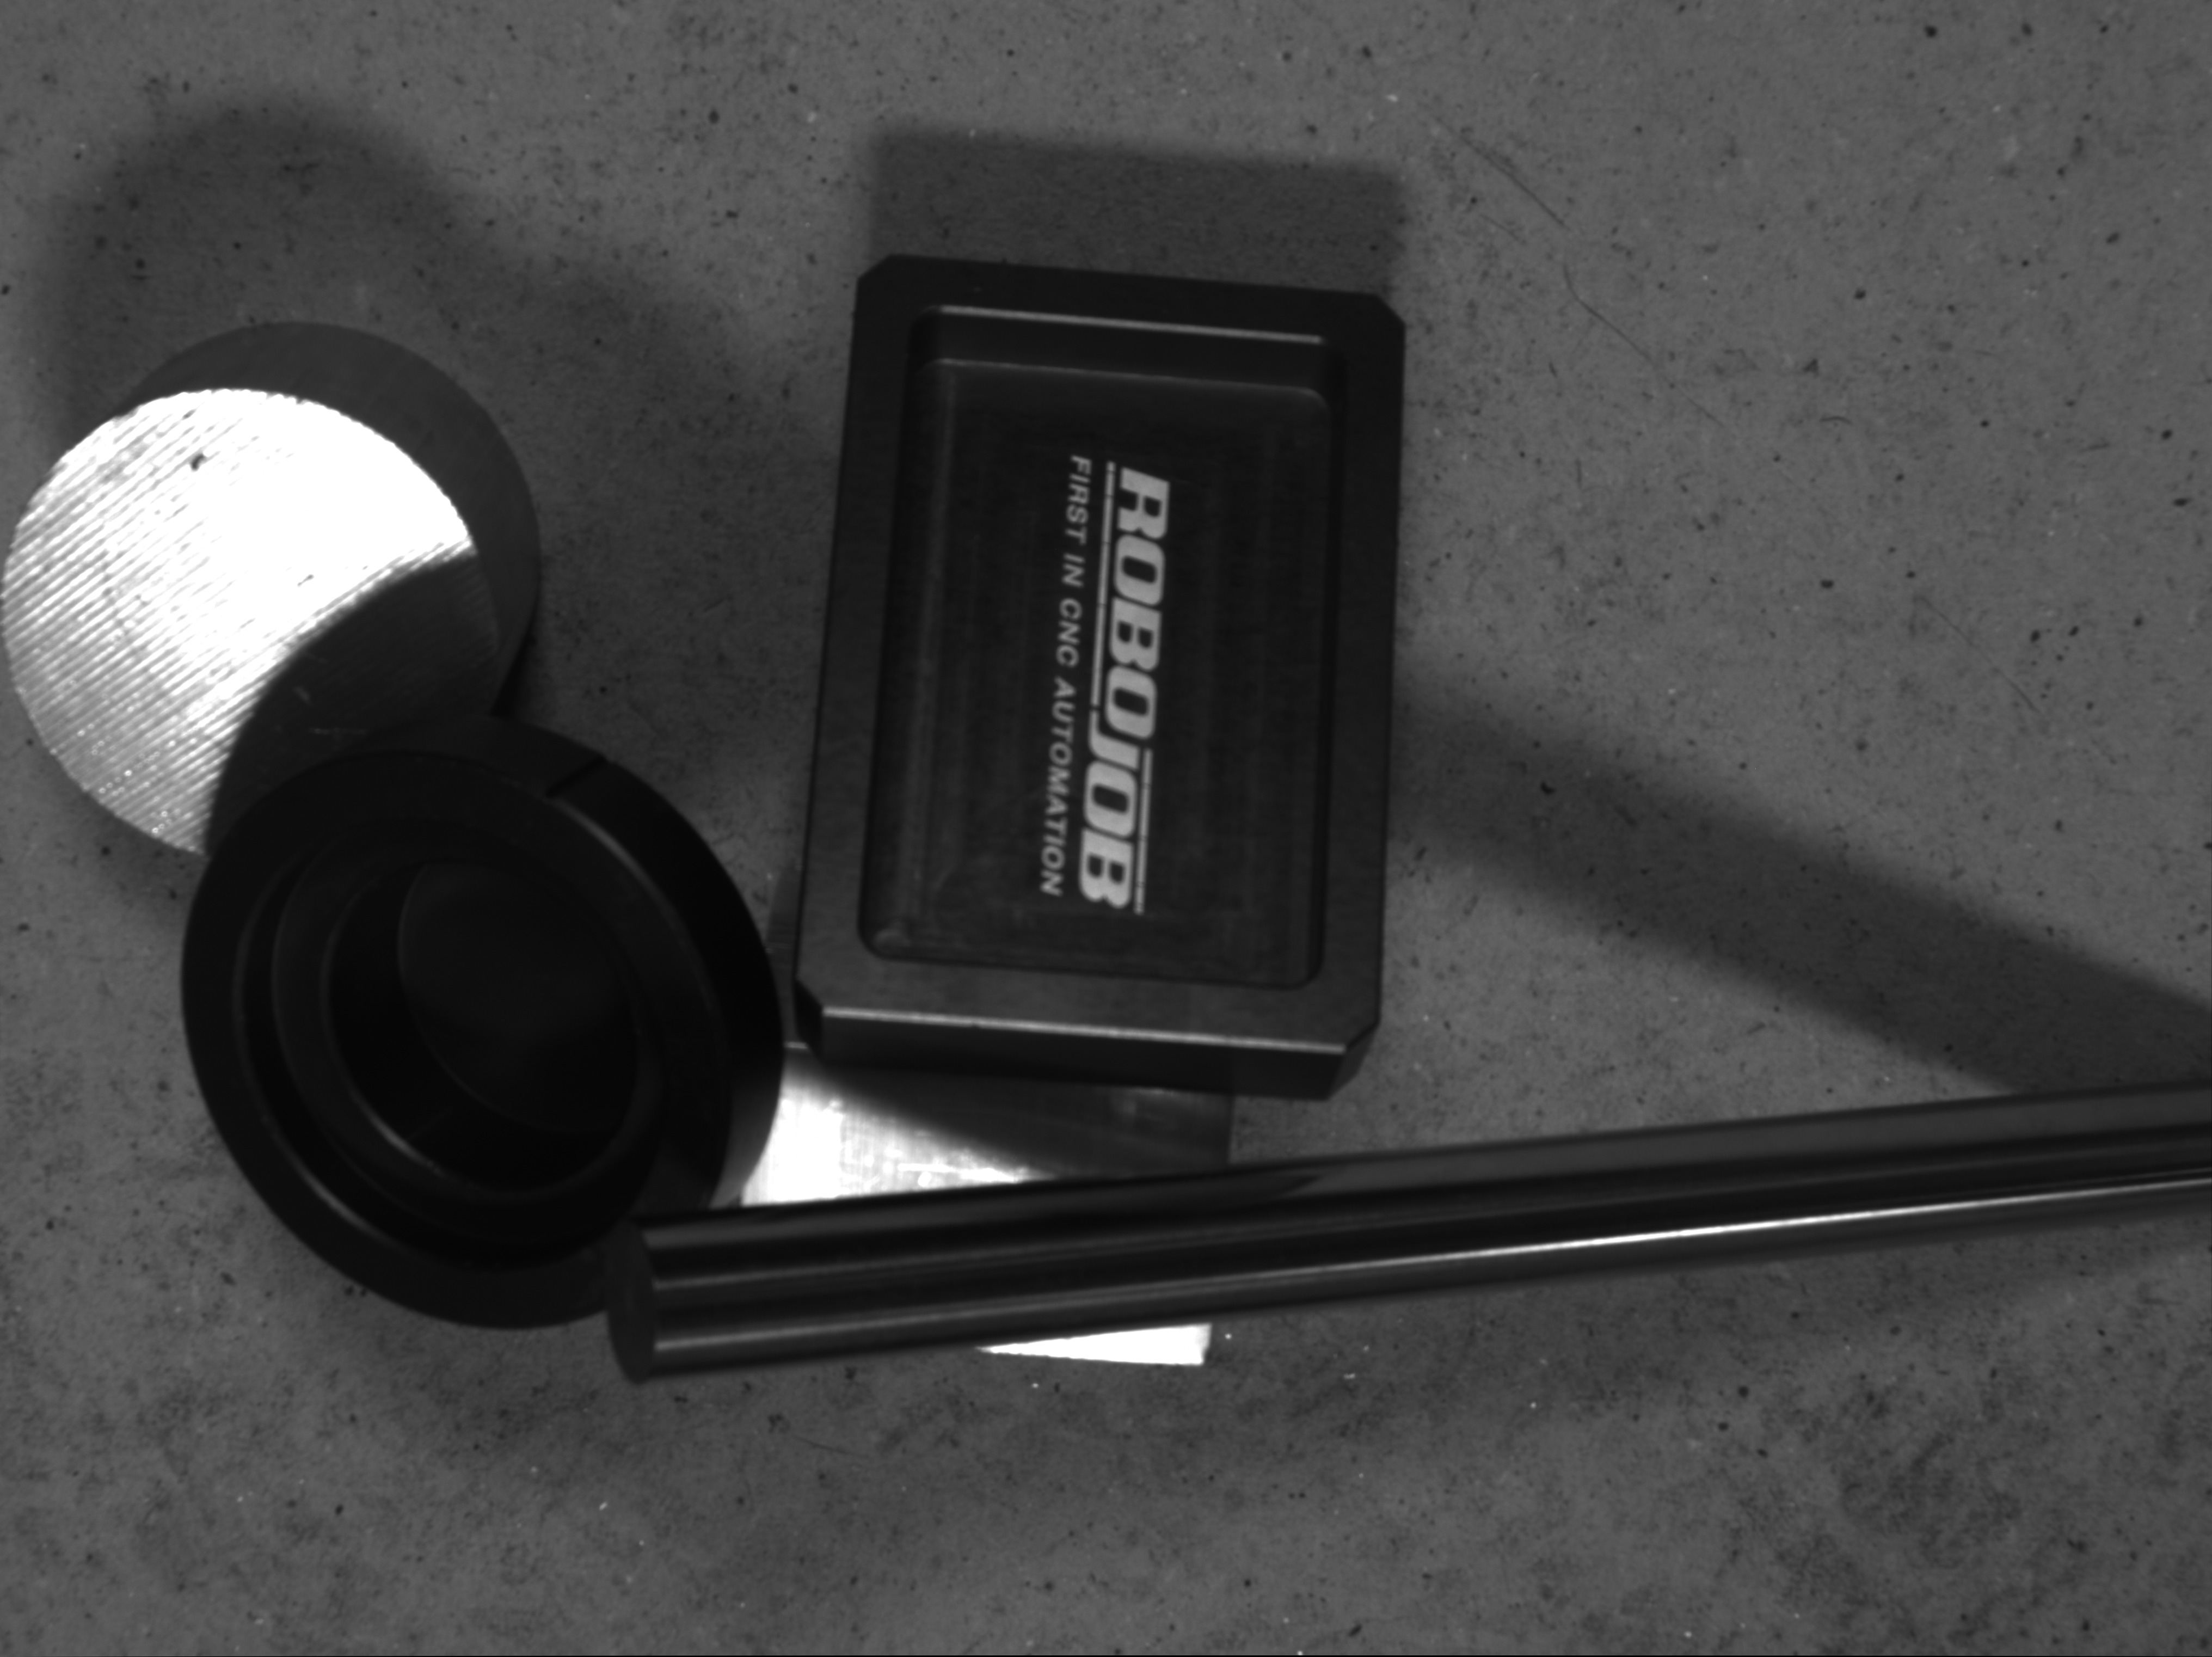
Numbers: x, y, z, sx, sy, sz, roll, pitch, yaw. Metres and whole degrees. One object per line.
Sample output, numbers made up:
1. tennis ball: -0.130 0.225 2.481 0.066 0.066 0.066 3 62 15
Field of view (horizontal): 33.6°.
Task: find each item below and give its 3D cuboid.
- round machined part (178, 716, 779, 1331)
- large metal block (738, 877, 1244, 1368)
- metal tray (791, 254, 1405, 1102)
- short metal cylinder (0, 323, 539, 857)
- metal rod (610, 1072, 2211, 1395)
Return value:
1. round machined part: -0.098 0.028 0.596 0.098 0.042 0.098 6 110 19
2. large metal block: -0.020 0.049 0.631 0.080 0.080 0.050 4 110 -2
3. metal tray: 0.000 -0.025 0.591 0.090 0.030 0.130 4 70 -2
4. short metal cylinder: -0.138 -0.040 0.614 0.080 0.050 0.080 0 110 -1
5. metal rod: 0.066 0.064 0.605 0.301 0.025 0.025 -3 112 -25
